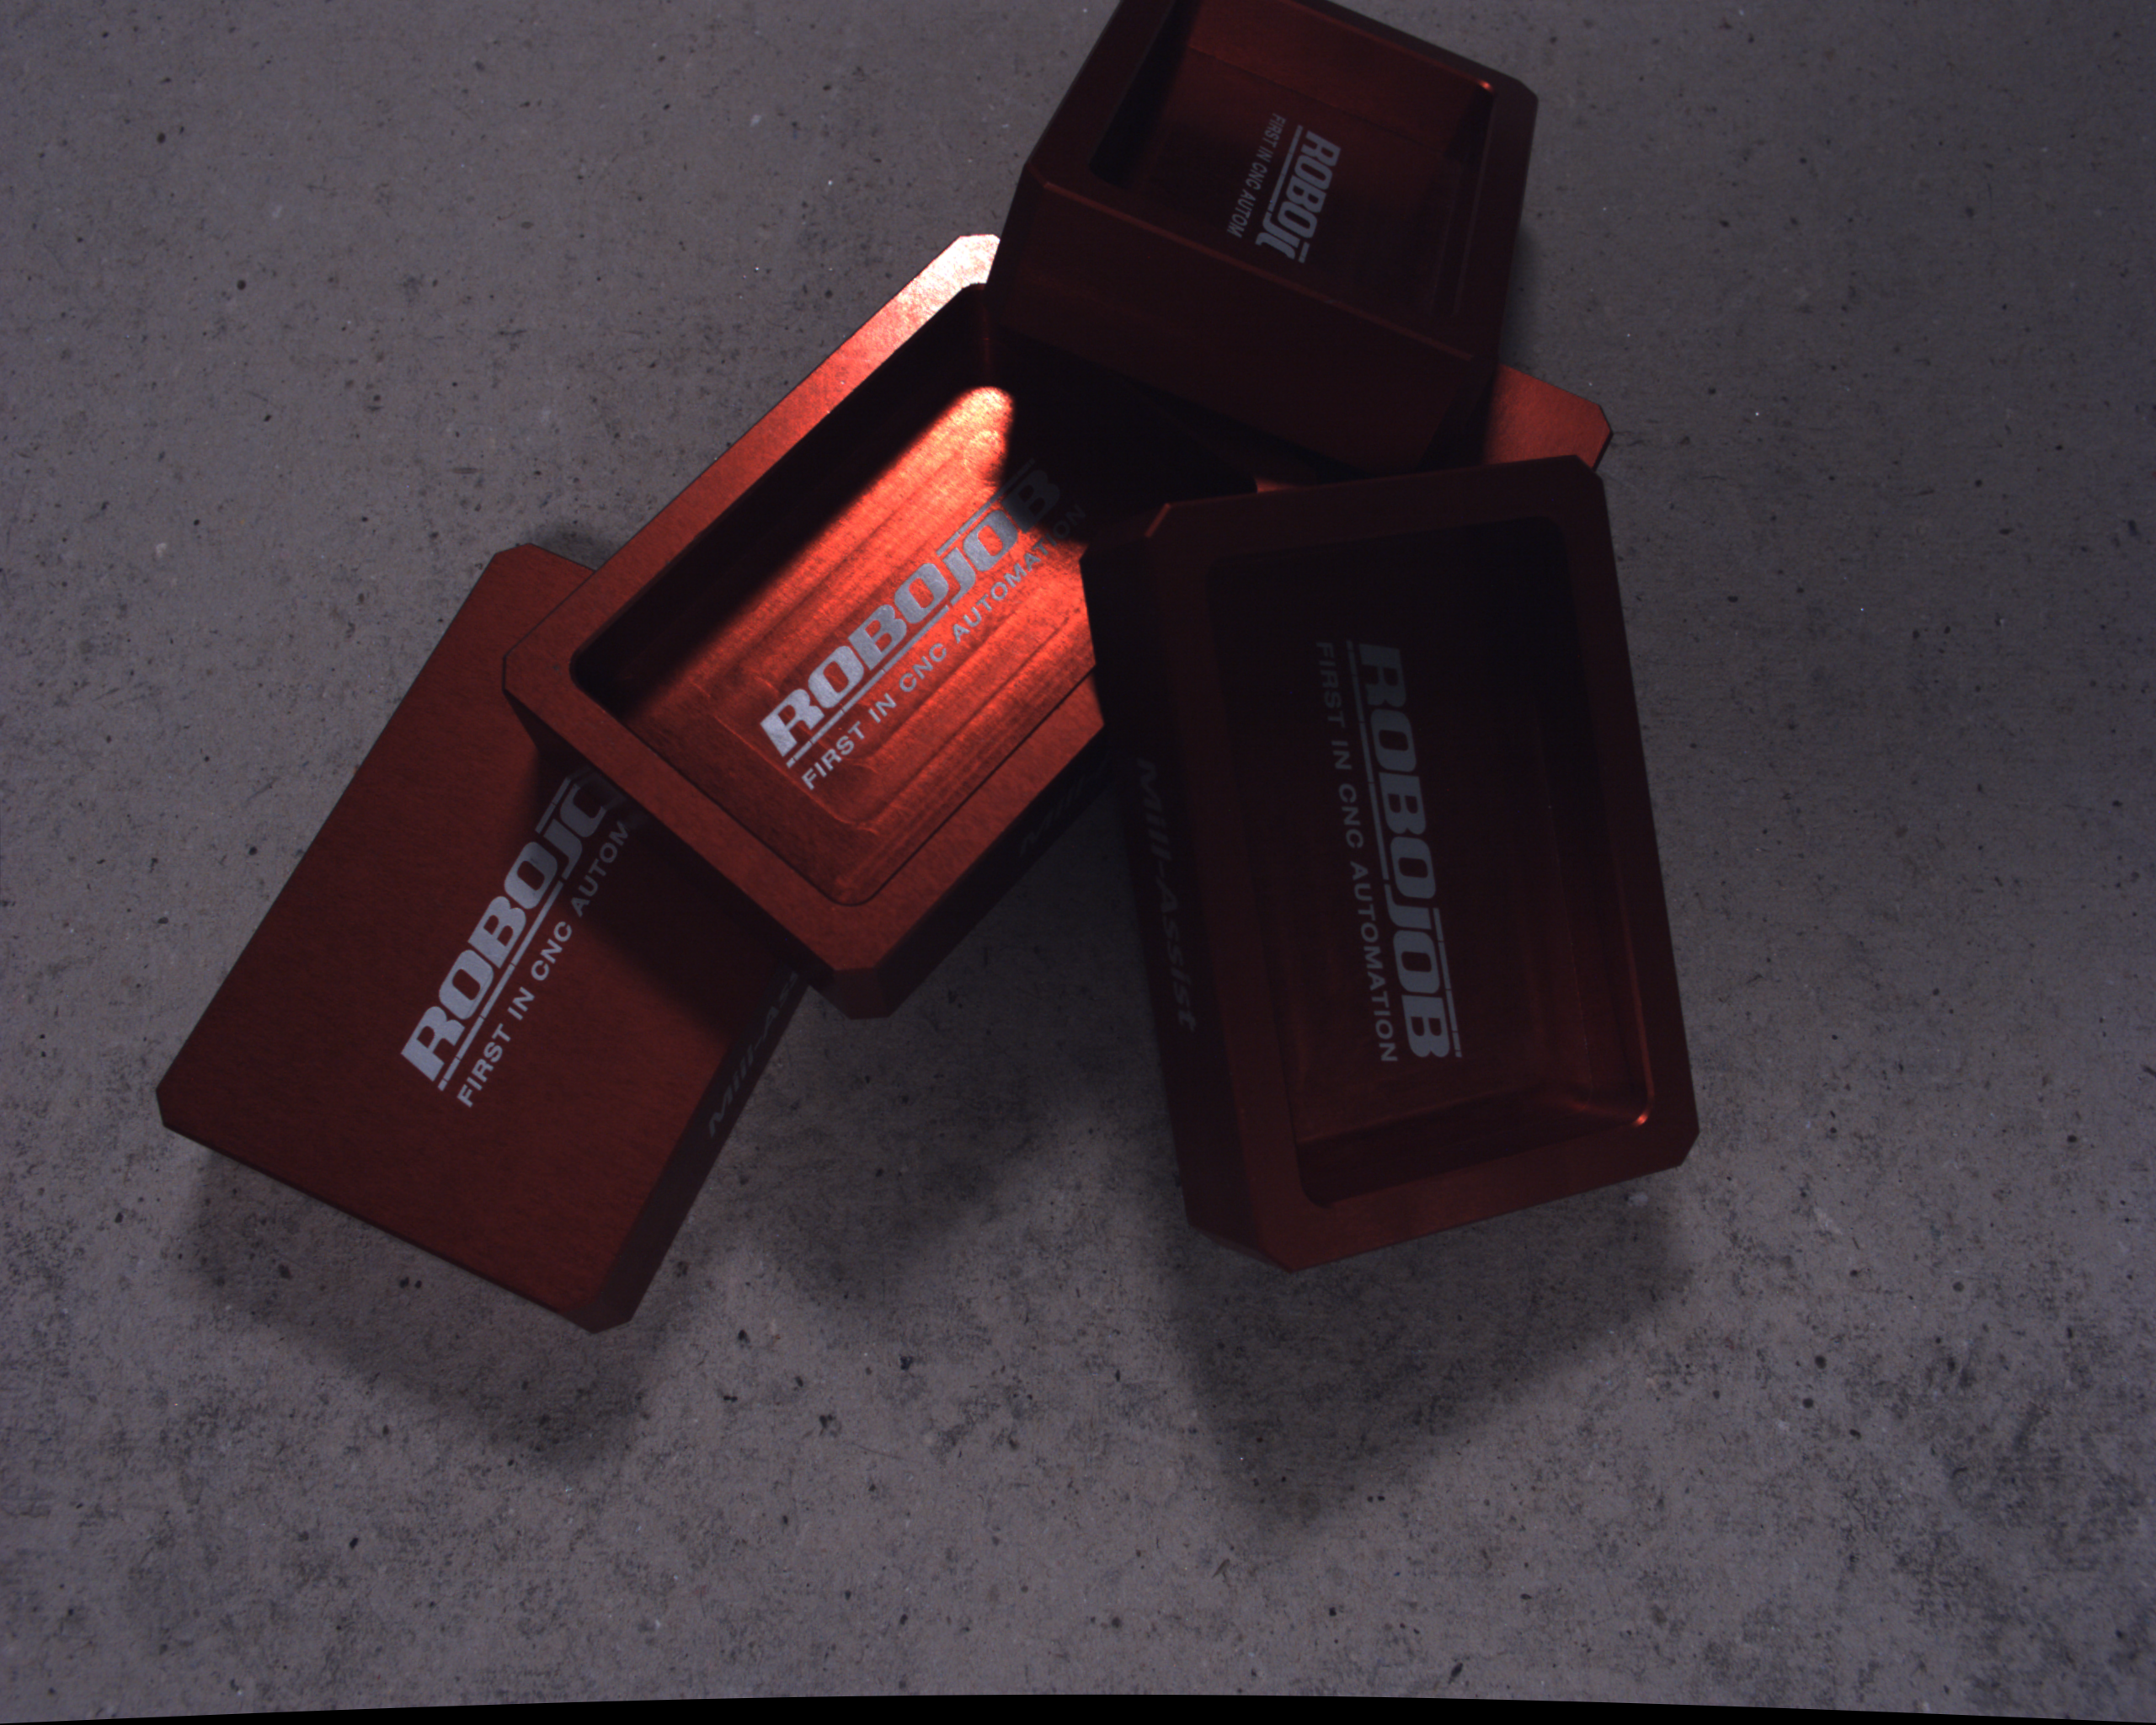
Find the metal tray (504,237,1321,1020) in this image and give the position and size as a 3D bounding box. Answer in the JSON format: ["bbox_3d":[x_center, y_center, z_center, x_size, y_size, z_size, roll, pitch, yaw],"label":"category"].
[{"bbox_3d":[-0.028,-0.046,0.391,0.090,0.030,0.130,40,74,13],"label":"metal tray"}]

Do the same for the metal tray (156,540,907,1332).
[{"bbox_3d":[-0.099,0.012,0.400,0.090,0.030,0.130,23,71,8],"label":"metal tray"}]

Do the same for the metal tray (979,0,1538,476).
[{"bbox_3d":[0.041,-0.135,0.420,0.090,0.030,0.130,22,44,-3],"label":"metal tray"}]

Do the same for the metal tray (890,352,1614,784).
[{"bbox_3d":[0.033,-0.077,0.435,0.130,0.030,0.090,26,72,8],"label":"metal tray"}]

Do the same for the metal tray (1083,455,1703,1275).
[{"bbox_3d":[0.057,-0.002,0.372,0.091,0.030,0.129,-11,94,-21],"label":"metal tray"}]
